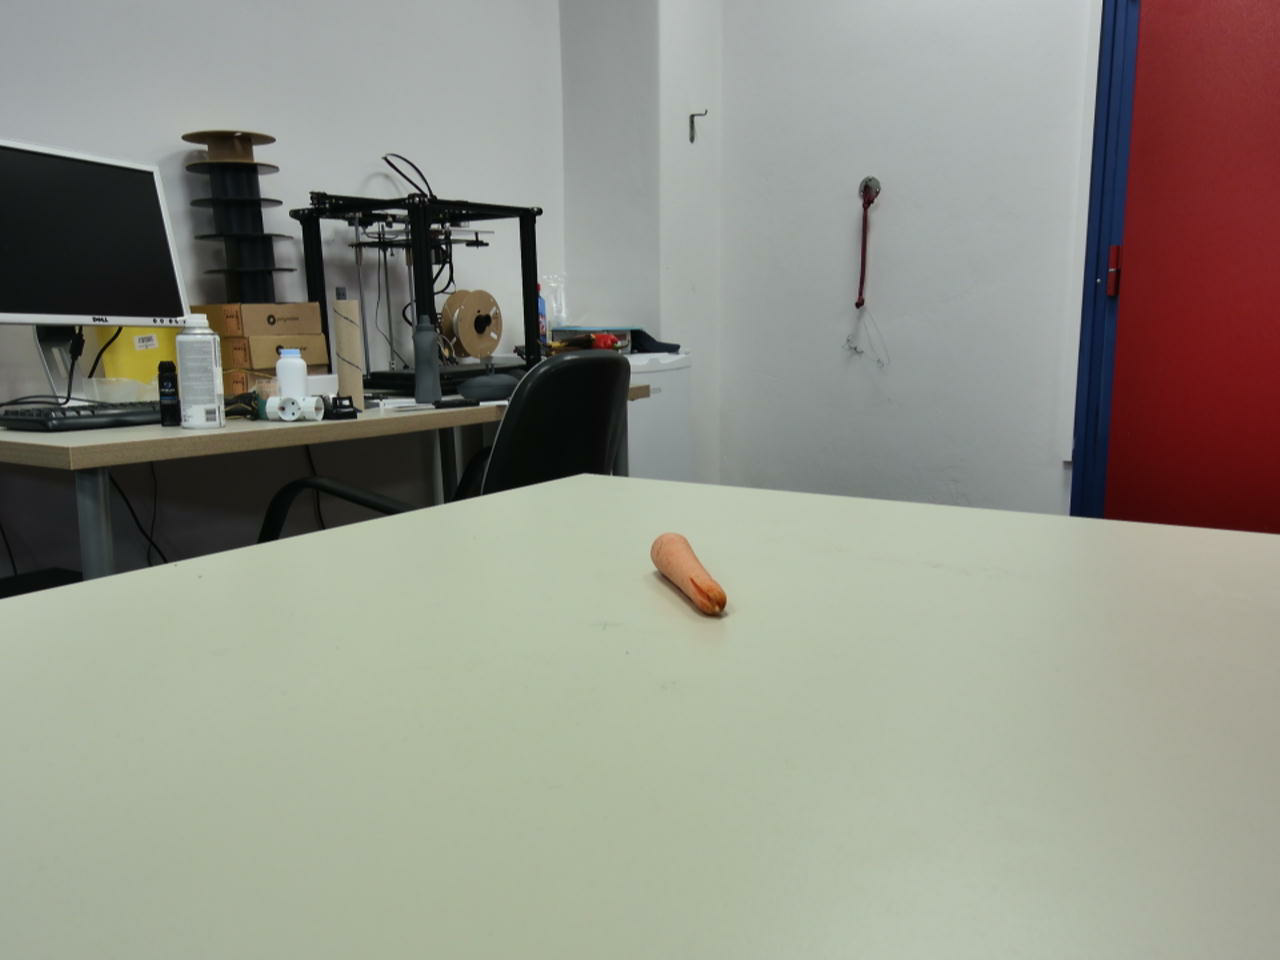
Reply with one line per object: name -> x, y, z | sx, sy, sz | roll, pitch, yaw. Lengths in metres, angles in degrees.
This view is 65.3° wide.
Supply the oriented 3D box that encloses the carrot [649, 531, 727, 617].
carrot -> 0.031, 0.058, 0.653 | 0.030, 0.032, 0.136 | -1, 7, -10
